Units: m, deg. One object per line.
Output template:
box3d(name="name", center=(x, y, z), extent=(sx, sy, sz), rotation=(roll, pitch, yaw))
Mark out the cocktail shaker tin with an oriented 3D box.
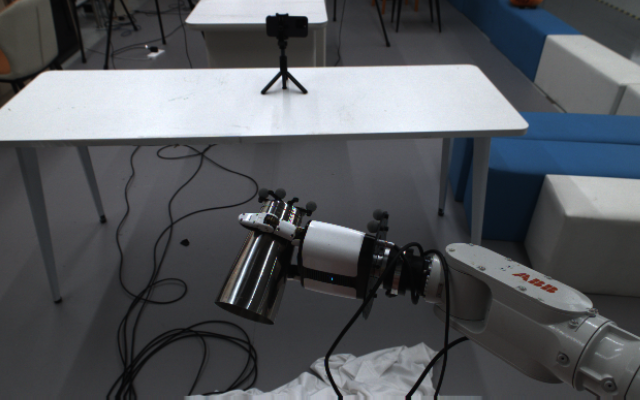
box3d(name="cocktail shaker tin", center=(-0.081, 0.086, 0.725), extent=(0.093, 0.093, 0.170), rotation=(13, 65, 15))
